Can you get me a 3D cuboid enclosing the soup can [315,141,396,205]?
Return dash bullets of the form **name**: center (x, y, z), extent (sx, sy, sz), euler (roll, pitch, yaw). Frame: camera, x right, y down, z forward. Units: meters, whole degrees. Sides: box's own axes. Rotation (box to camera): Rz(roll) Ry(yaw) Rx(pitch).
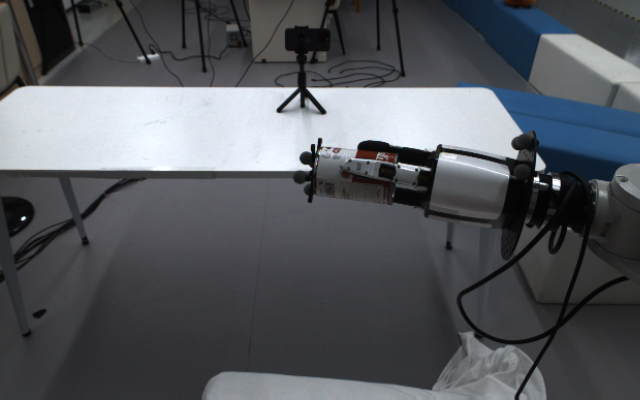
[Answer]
- **soup can**: center (0.049, -0.034, 0.632), extent (0.101, 0.067, 0.067), euler (6, 35, 10)
